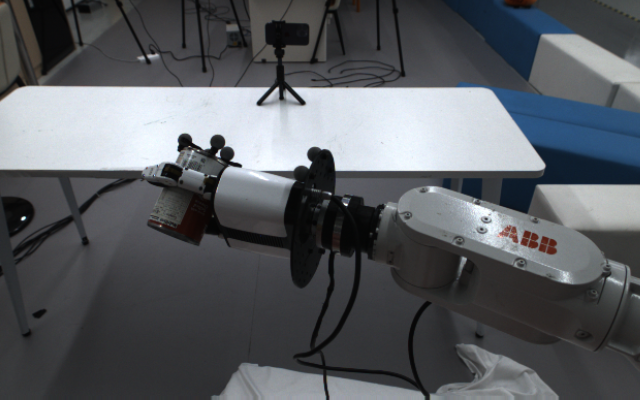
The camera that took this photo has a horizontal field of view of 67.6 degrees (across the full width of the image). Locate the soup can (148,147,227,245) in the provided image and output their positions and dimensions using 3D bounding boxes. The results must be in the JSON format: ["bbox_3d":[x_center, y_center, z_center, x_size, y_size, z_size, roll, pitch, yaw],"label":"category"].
[{"bbox_3d":[-0.156,-0.003,0.584,0.067,0.067,0.101,16,75,19],"label":"soup can"}]
